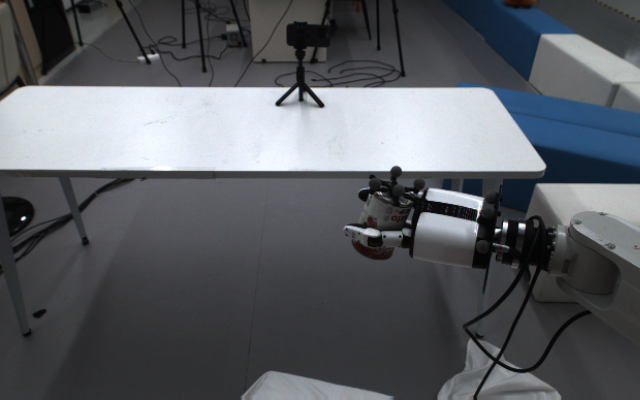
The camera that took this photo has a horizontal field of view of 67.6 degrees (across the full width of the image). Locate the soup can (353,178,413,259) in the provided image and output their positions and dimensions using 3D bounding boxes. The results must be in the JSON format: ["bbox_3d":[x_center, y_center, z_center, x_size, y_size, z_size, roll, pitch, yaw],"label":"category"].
[{"bbox_3d":[0.095,0.030,0.731,0.067,0.101,0.067,13,30,-8],"label":"soup can"}]
